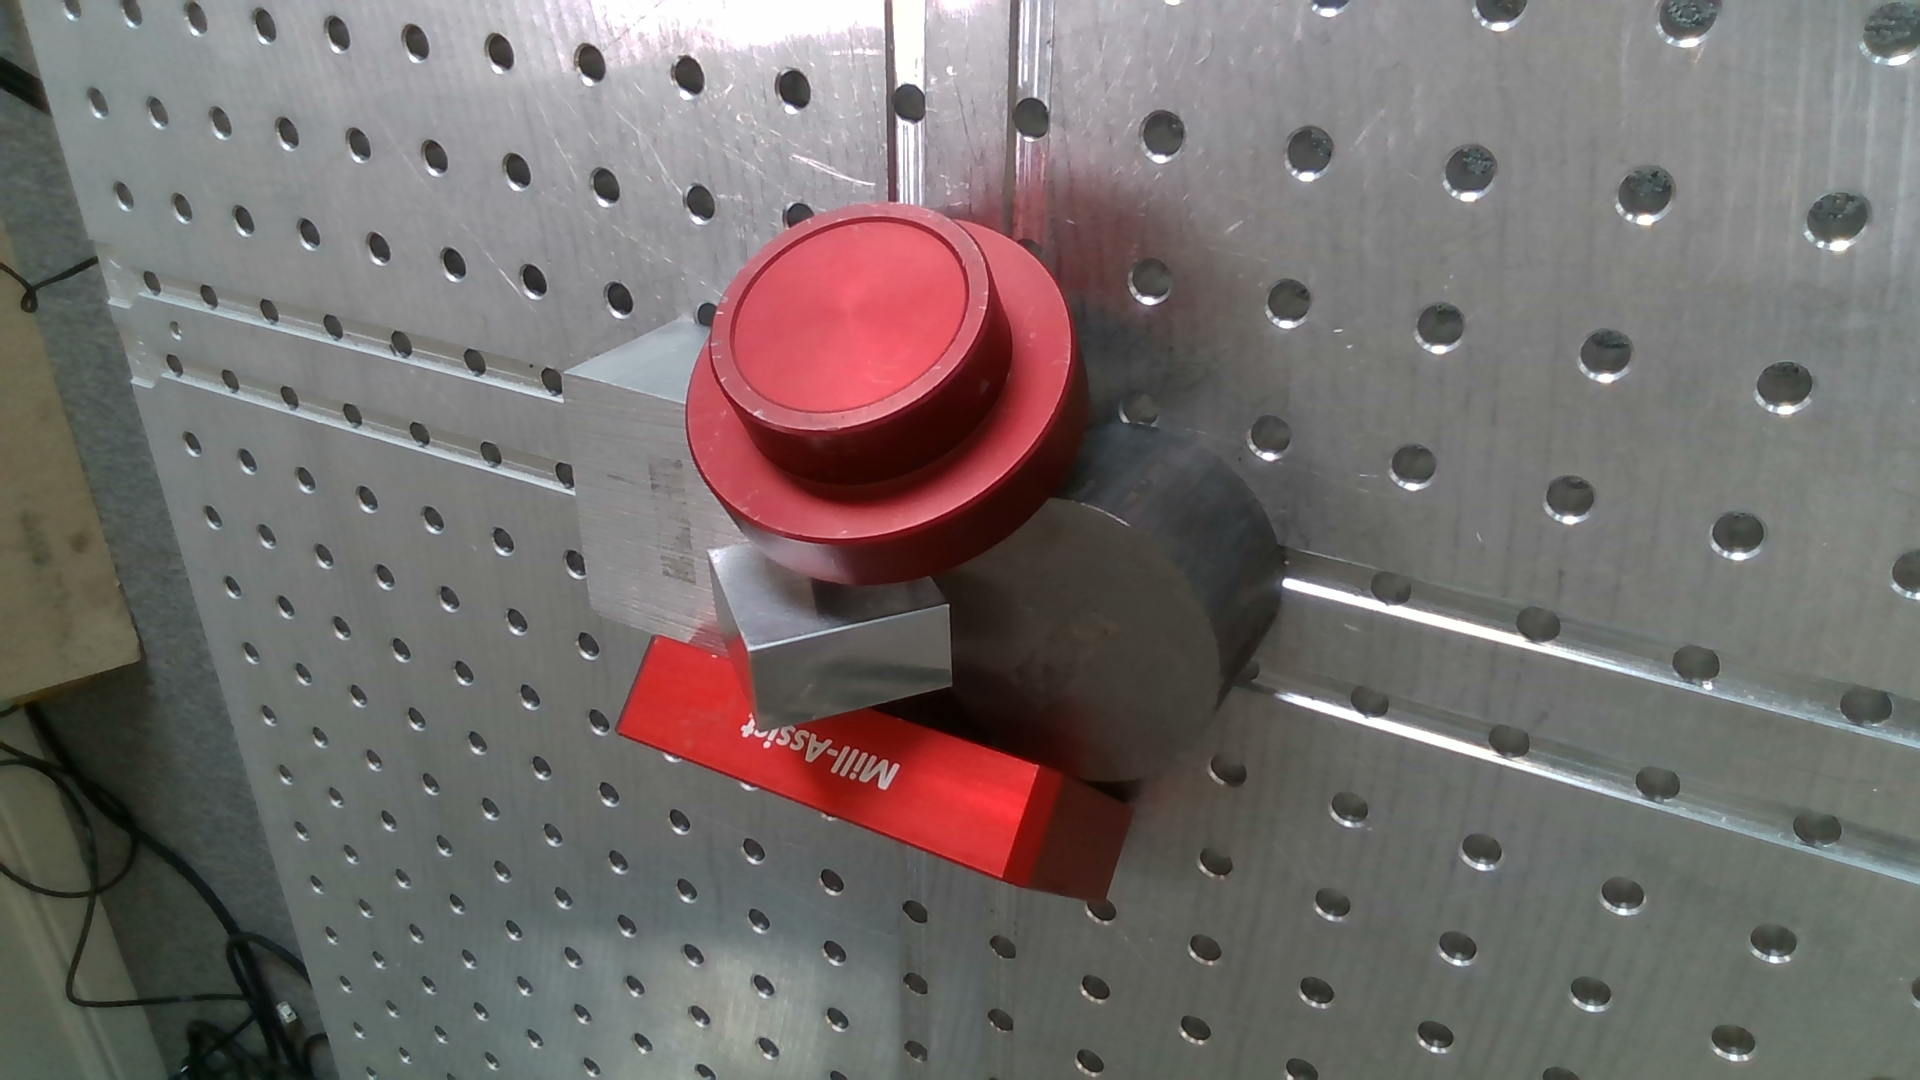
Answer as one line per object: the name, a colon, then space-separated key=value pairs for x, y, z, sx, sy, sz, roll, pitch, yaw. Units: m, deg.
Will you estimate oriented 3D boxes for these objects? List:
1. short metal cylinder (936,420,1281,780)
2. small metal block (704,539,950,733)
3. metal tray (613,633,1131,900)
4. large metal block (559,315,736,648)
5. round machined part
short metal cylinder: x=0.037 y=0.015 z=0.360 sx=0.080 sy=0.050 sz=0.080 roll=15 pitch=122 yaw=25
small metal block: x=-0.035 y=0.019 z=0.353 sx=0.050 sy=0.050 sz=0.025 roll=-125 pitch=28 yaw=-54
metal tray: x=-0.023 y=0.067 z=0.403 sx=0.130 sy=0.090 sz=0.030 roll=15 pitch=79 yaw=24
large metal block: x=-0.066 y=-0.014 z=0.409 sx=0.080 sy=0.050 sz=0.080 roll=16 pitch=123 yaw=24
round machined part: x=-0.022 y=-0.042 z=0.330 sx=0.098 sy=0.098 sz=0.042 roll=16 pitch=156 yaw=24
